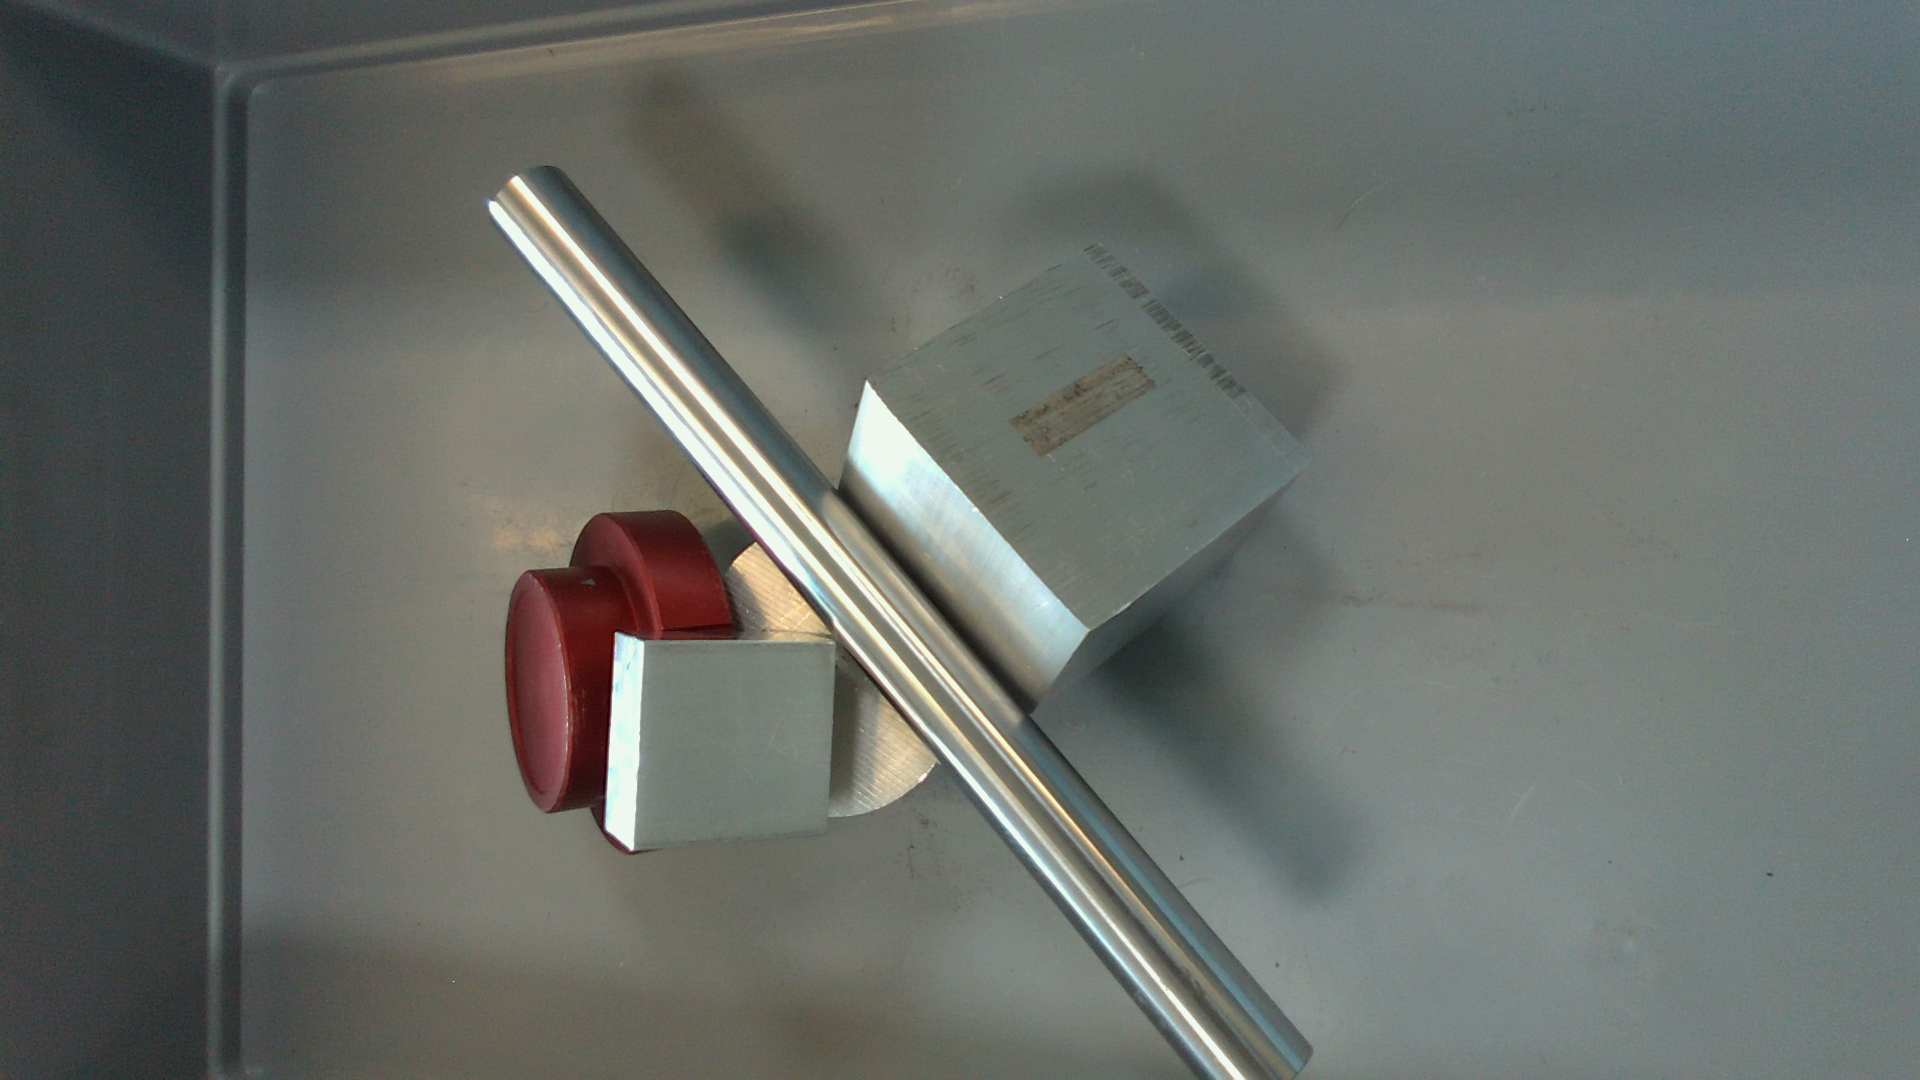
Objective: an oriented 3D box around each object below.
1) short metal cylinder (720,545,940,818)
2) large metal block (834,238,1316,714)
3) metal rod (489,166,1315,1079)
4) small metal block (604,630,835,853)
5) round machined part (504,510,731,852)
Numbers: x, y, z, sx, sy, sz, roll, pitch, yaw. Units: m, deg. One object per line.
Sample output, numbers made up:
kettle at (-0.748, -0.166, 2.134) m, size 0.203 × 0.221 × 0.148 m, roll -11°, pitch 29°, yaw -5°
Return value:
short metal cylinder at (-0.028, 0.034, 0.391) m, size 0.080 × 0.050 × 0.080 m, roll 0°, pitch 90°, yaw 20°
large metal block at (0.027, -0.017, 0.349) m, size 0.080 × 0.050 × 0.080 m, roll -35°, pitch 75°, yaw -27°
metal rod at (-0.024, 0.015, 0.350) m, size 0.025 × 0.025 × 0.300 m, roll -45°, pitch 76°, yaw 15°
small metal block at (-0.061, 0.049, 0.348) m, size 0.025 × 0.050 × 0.050 m, roll 5°, pitch 93°, yaw 60°
round machined part at (-0.101, 0.041, 0.395) m, size 0.098 × 0.042 × 0.098 m, roll 10°, pitch 102°, yaw 58°
